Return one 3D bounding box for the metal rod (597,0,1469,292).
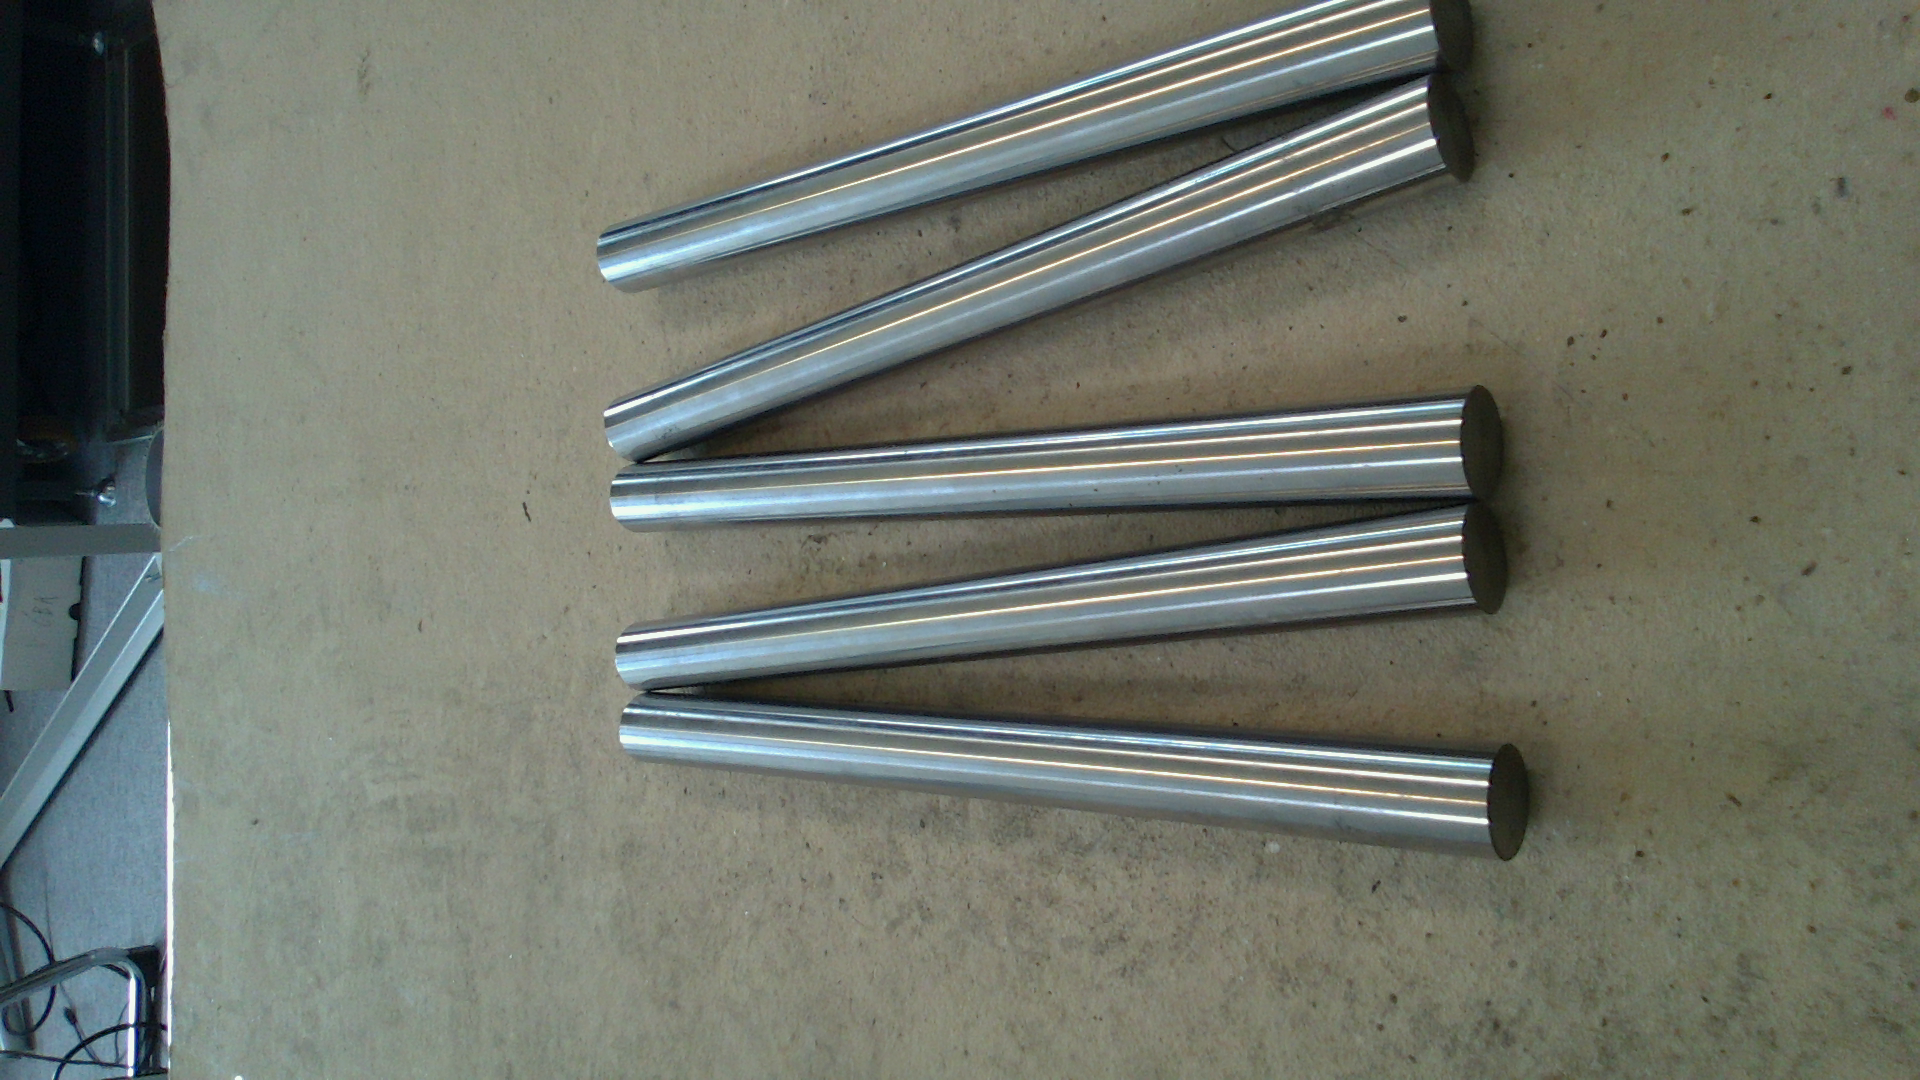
[{"bbox_3d":[-0.006,-0.109,0.400,0.299,0.025,0.025,-4,88,40],"label":"metal rod"}]

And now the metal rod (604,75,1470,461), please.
[{"bbox_3d":[-0.005,-0.065,0.399,0.299,0.025,0.025,-13,82,39],"label":"metal rod"}]

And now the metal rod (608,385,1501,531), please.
[{"bbox_3d":[-0.001,-0.018,0.396,0.299,0.025,0.025,-1,89,40],"label":"metal rod"}]

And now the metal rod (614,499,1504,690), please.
[{"bbox_3d":[0.001,0.022,0.395,0.299,0.025,0.025,-9,84,40],"label":"metal rod"}]

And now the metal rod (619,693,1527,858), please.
[{"bbox_3d":[0.004,0.061,0.392,0.299,0.025,0.025,-3,88,40],"label":"metal rod"}]
